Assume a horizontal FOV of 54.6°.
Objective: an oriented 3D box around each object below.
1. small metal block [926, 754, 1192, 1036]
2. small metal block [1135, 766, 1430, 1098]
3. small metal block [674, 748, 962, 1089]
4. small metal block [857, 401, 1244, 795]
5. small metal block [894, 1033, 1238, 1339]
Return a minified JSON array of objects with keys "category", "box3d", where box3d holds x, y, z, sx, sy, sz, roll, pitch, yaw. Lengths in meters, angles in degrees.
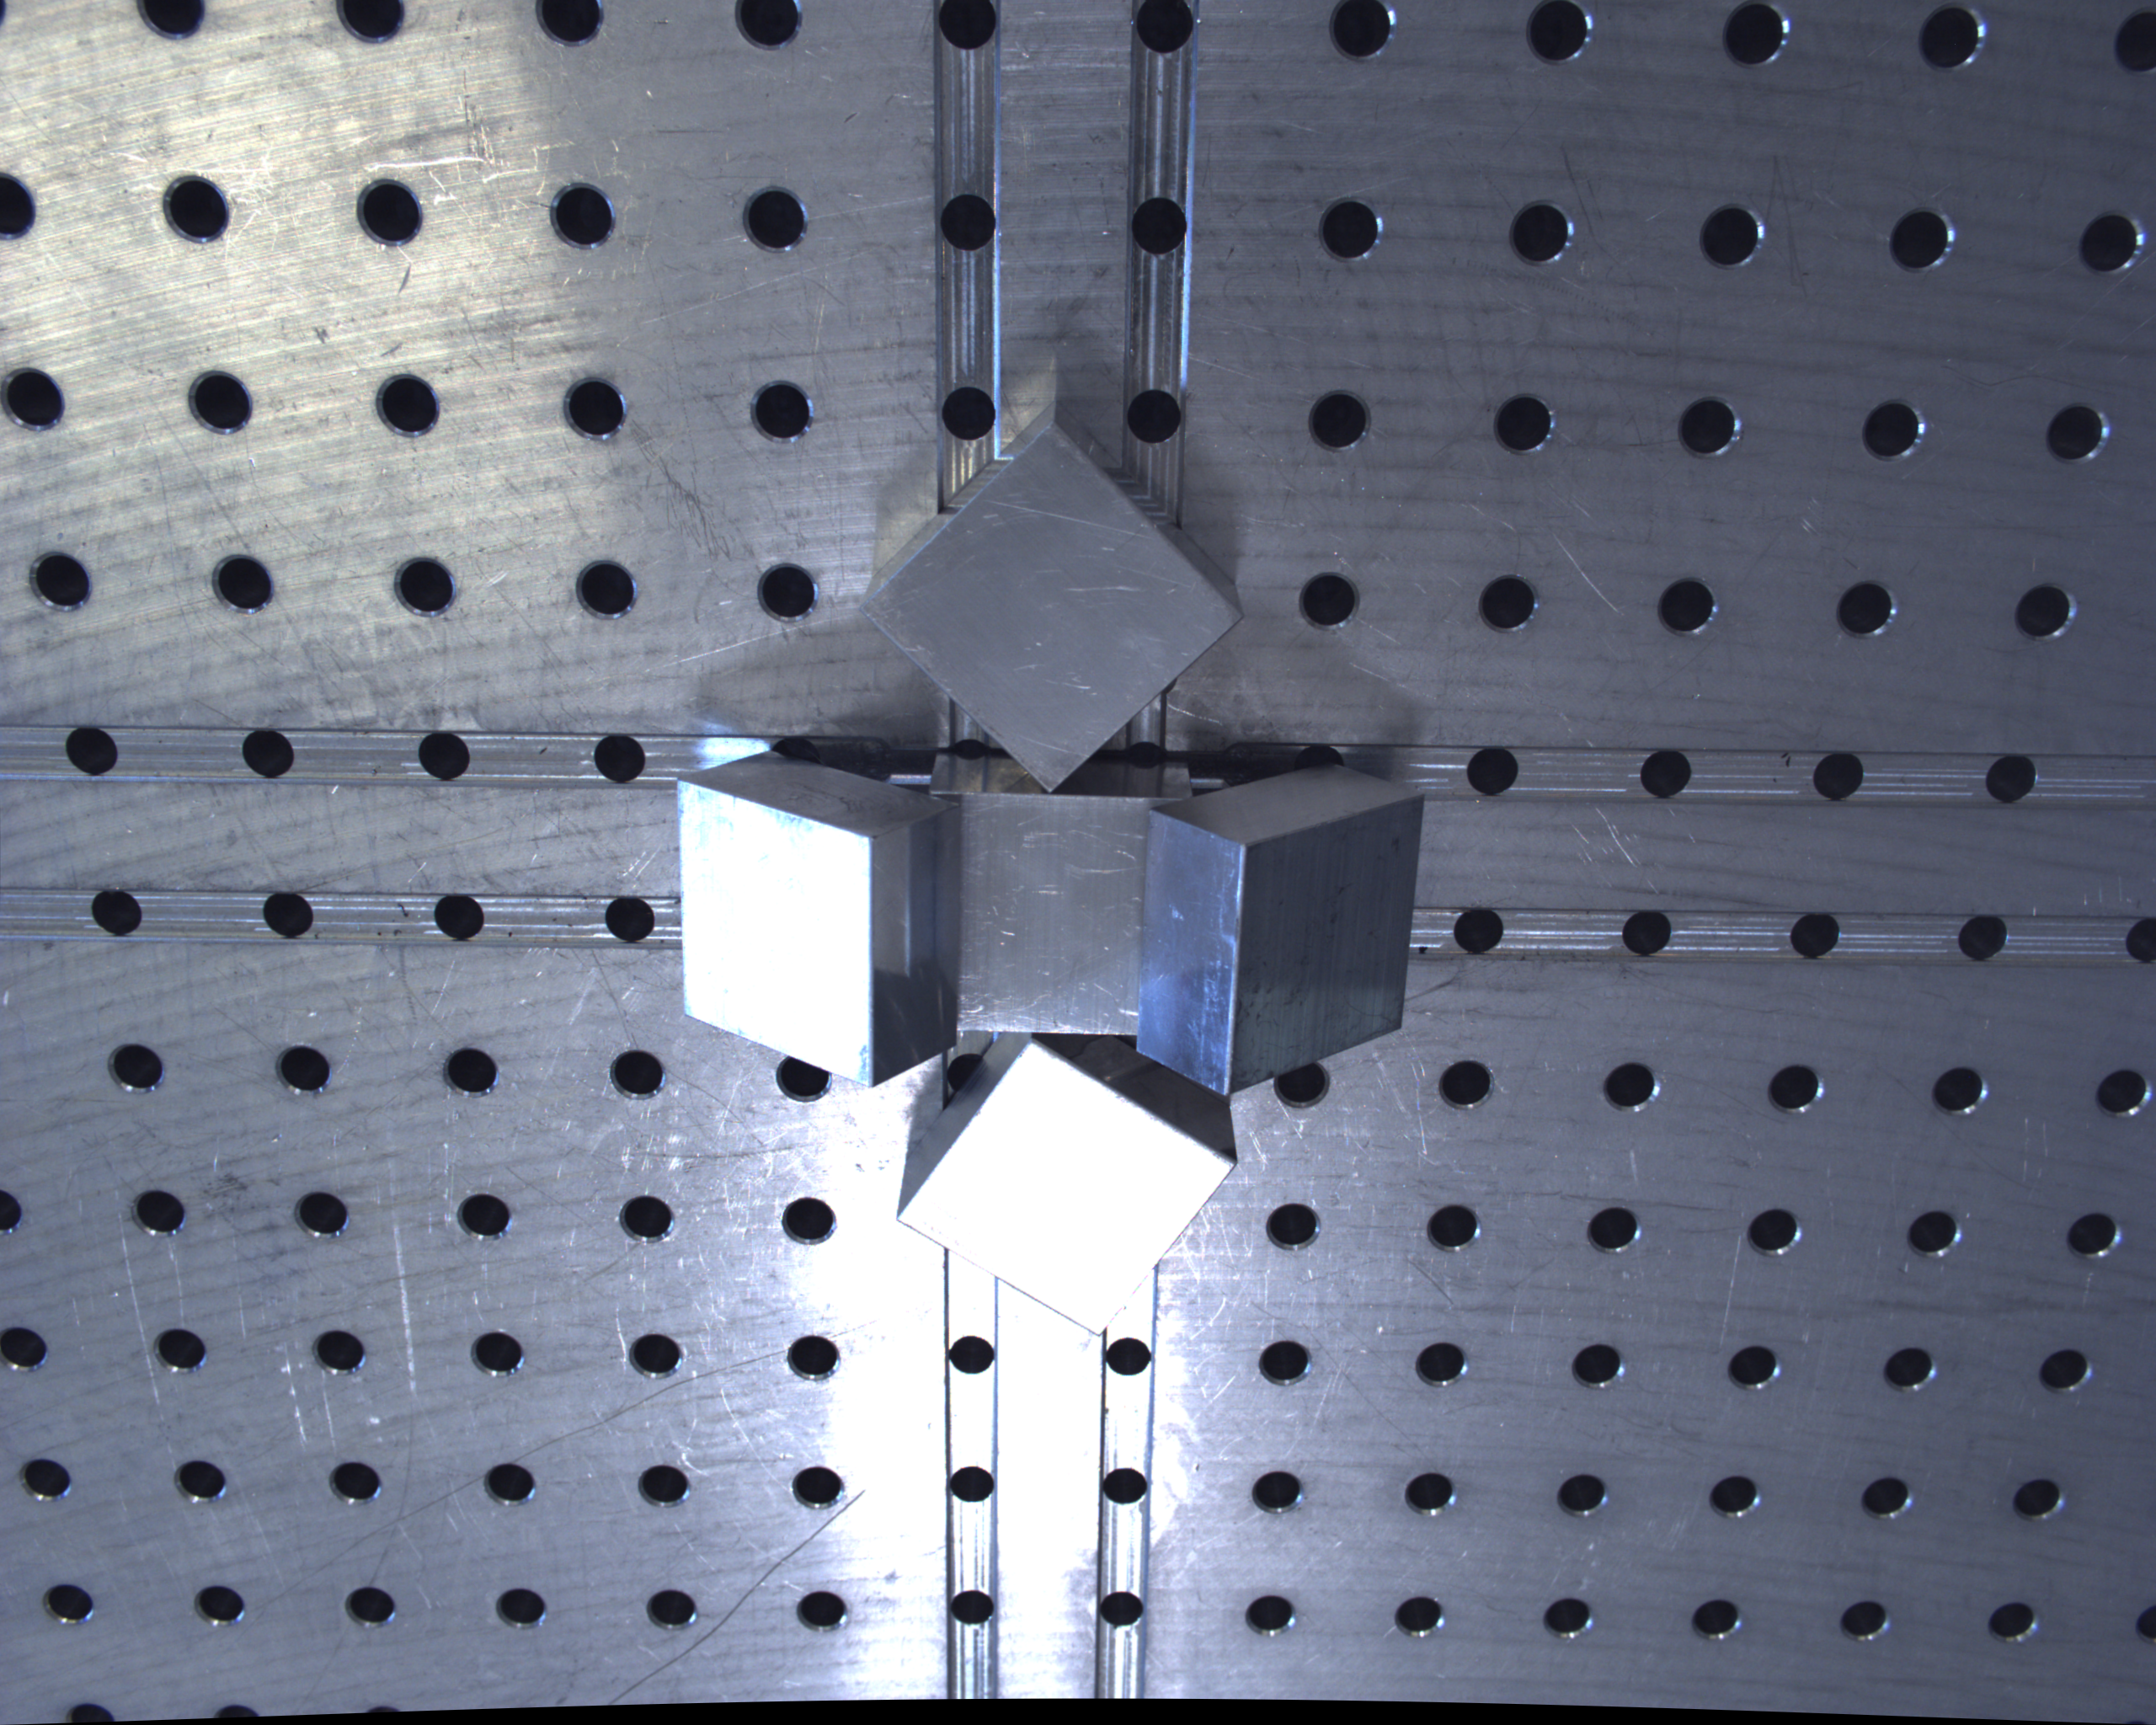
[{"category":"small metal block","box3d":[-0.004,0.006,0.415,0.050,0.025,0.050,1,109,-1]},{"category":"small metal block","box3d":[0.039,0.012,0.403,0.050,0.025,0.050,-14,116,-39]},{"category":"small metal block","box3d":[-0.050,0.010,0.403,0.050,0.025,0.050,17,115,33]},{"category":"small metal block","box3d":[-0.005,-0.050,0.395,0.050,0.025,0.050,-42,104,13]},{"category":"small metal block","box3d":[-0.002,0.063,0.436,0.050,0.025,0.050,33,107,-10]}]
